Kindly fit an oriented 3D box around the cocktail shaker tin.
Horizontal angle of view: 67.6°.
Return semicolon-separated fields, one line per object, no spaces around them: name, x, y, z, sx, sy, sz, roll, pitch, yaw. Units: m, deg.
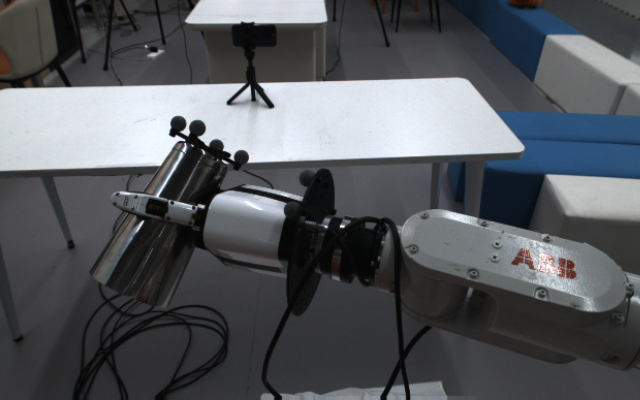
cocktail shaker tin;-0.171;0.021;0.546;0.093;0.093;0.170;21;81;25
